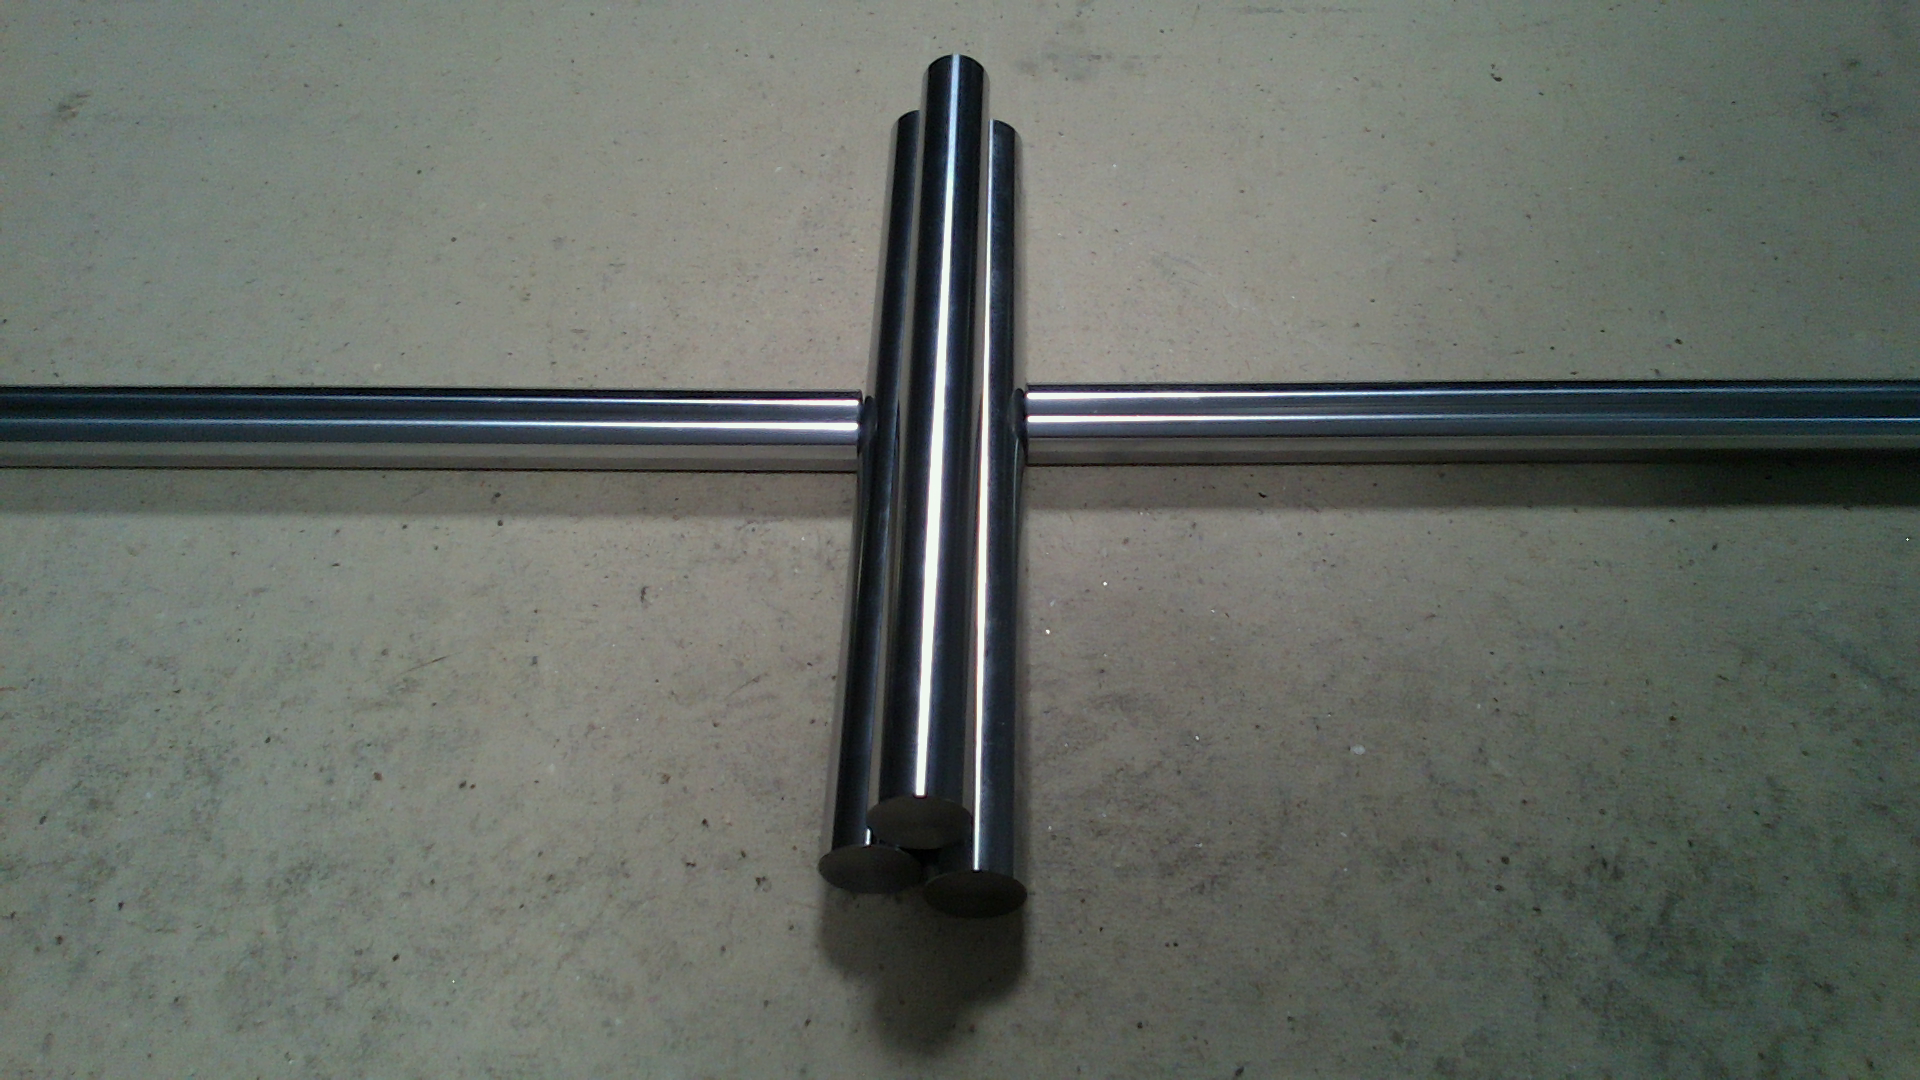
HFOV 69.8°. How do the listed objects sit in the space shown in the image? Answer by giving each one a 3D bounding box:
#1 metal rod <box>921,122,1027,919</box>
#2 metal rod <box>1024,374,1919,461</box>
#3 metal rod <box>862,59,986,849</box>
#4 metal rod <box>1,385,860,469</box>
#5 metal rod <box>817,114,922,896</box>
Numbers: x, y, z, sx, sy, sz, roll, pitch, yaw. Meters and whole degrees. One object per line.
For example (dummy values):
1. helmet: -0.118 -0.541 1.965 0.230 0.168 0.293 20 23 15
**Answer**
1. metal rod: 0.007 -0.031 0.419 0.025 0.025 0.300 1 50 1
2. metal rod: 0.170 -0.038 0.423 0.300 0.025 0.025 0 50 0
3. metal rod: -0.006 -0.051 0.408 0.025 0.025 0.300 1 50 1
4. metal rod: -0.180 -0.035 0.421 0.300 0.025 0.025 0 50 0
5. metal rod: -0.018 -0.036 0.423 0.025 0.025 0.300 1 50 1
